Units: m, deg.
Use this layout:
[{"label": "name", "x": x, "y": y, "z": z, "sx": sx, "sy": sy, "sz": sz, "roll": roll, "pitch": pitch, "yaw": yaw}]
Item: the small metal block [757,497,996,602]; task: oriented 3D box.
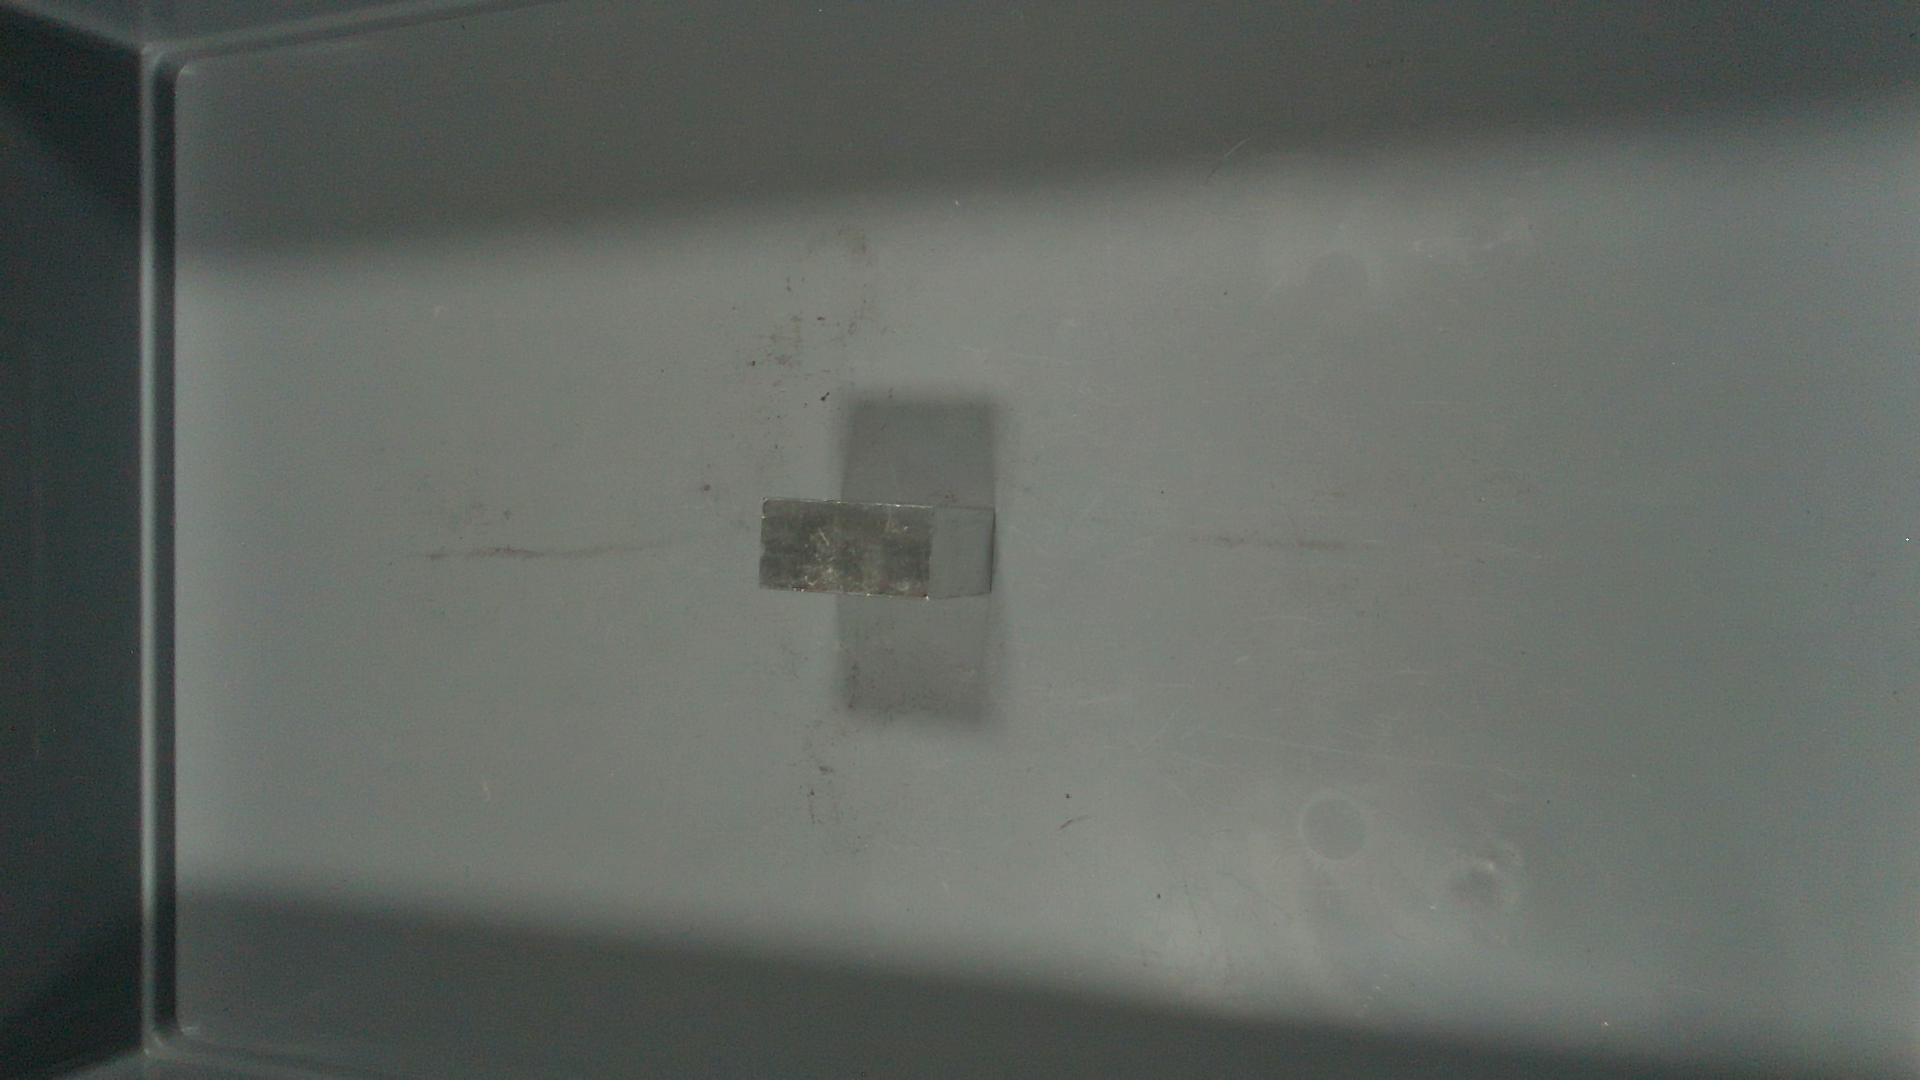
[{"label": "small metal block", "x": -0.022, "y": 0.002, "z": 0.387, "sx": 0.050, "sy": 0.050, "sz": 0.025, "roll": 3, "pitch": 91, "yaw": 20}]
